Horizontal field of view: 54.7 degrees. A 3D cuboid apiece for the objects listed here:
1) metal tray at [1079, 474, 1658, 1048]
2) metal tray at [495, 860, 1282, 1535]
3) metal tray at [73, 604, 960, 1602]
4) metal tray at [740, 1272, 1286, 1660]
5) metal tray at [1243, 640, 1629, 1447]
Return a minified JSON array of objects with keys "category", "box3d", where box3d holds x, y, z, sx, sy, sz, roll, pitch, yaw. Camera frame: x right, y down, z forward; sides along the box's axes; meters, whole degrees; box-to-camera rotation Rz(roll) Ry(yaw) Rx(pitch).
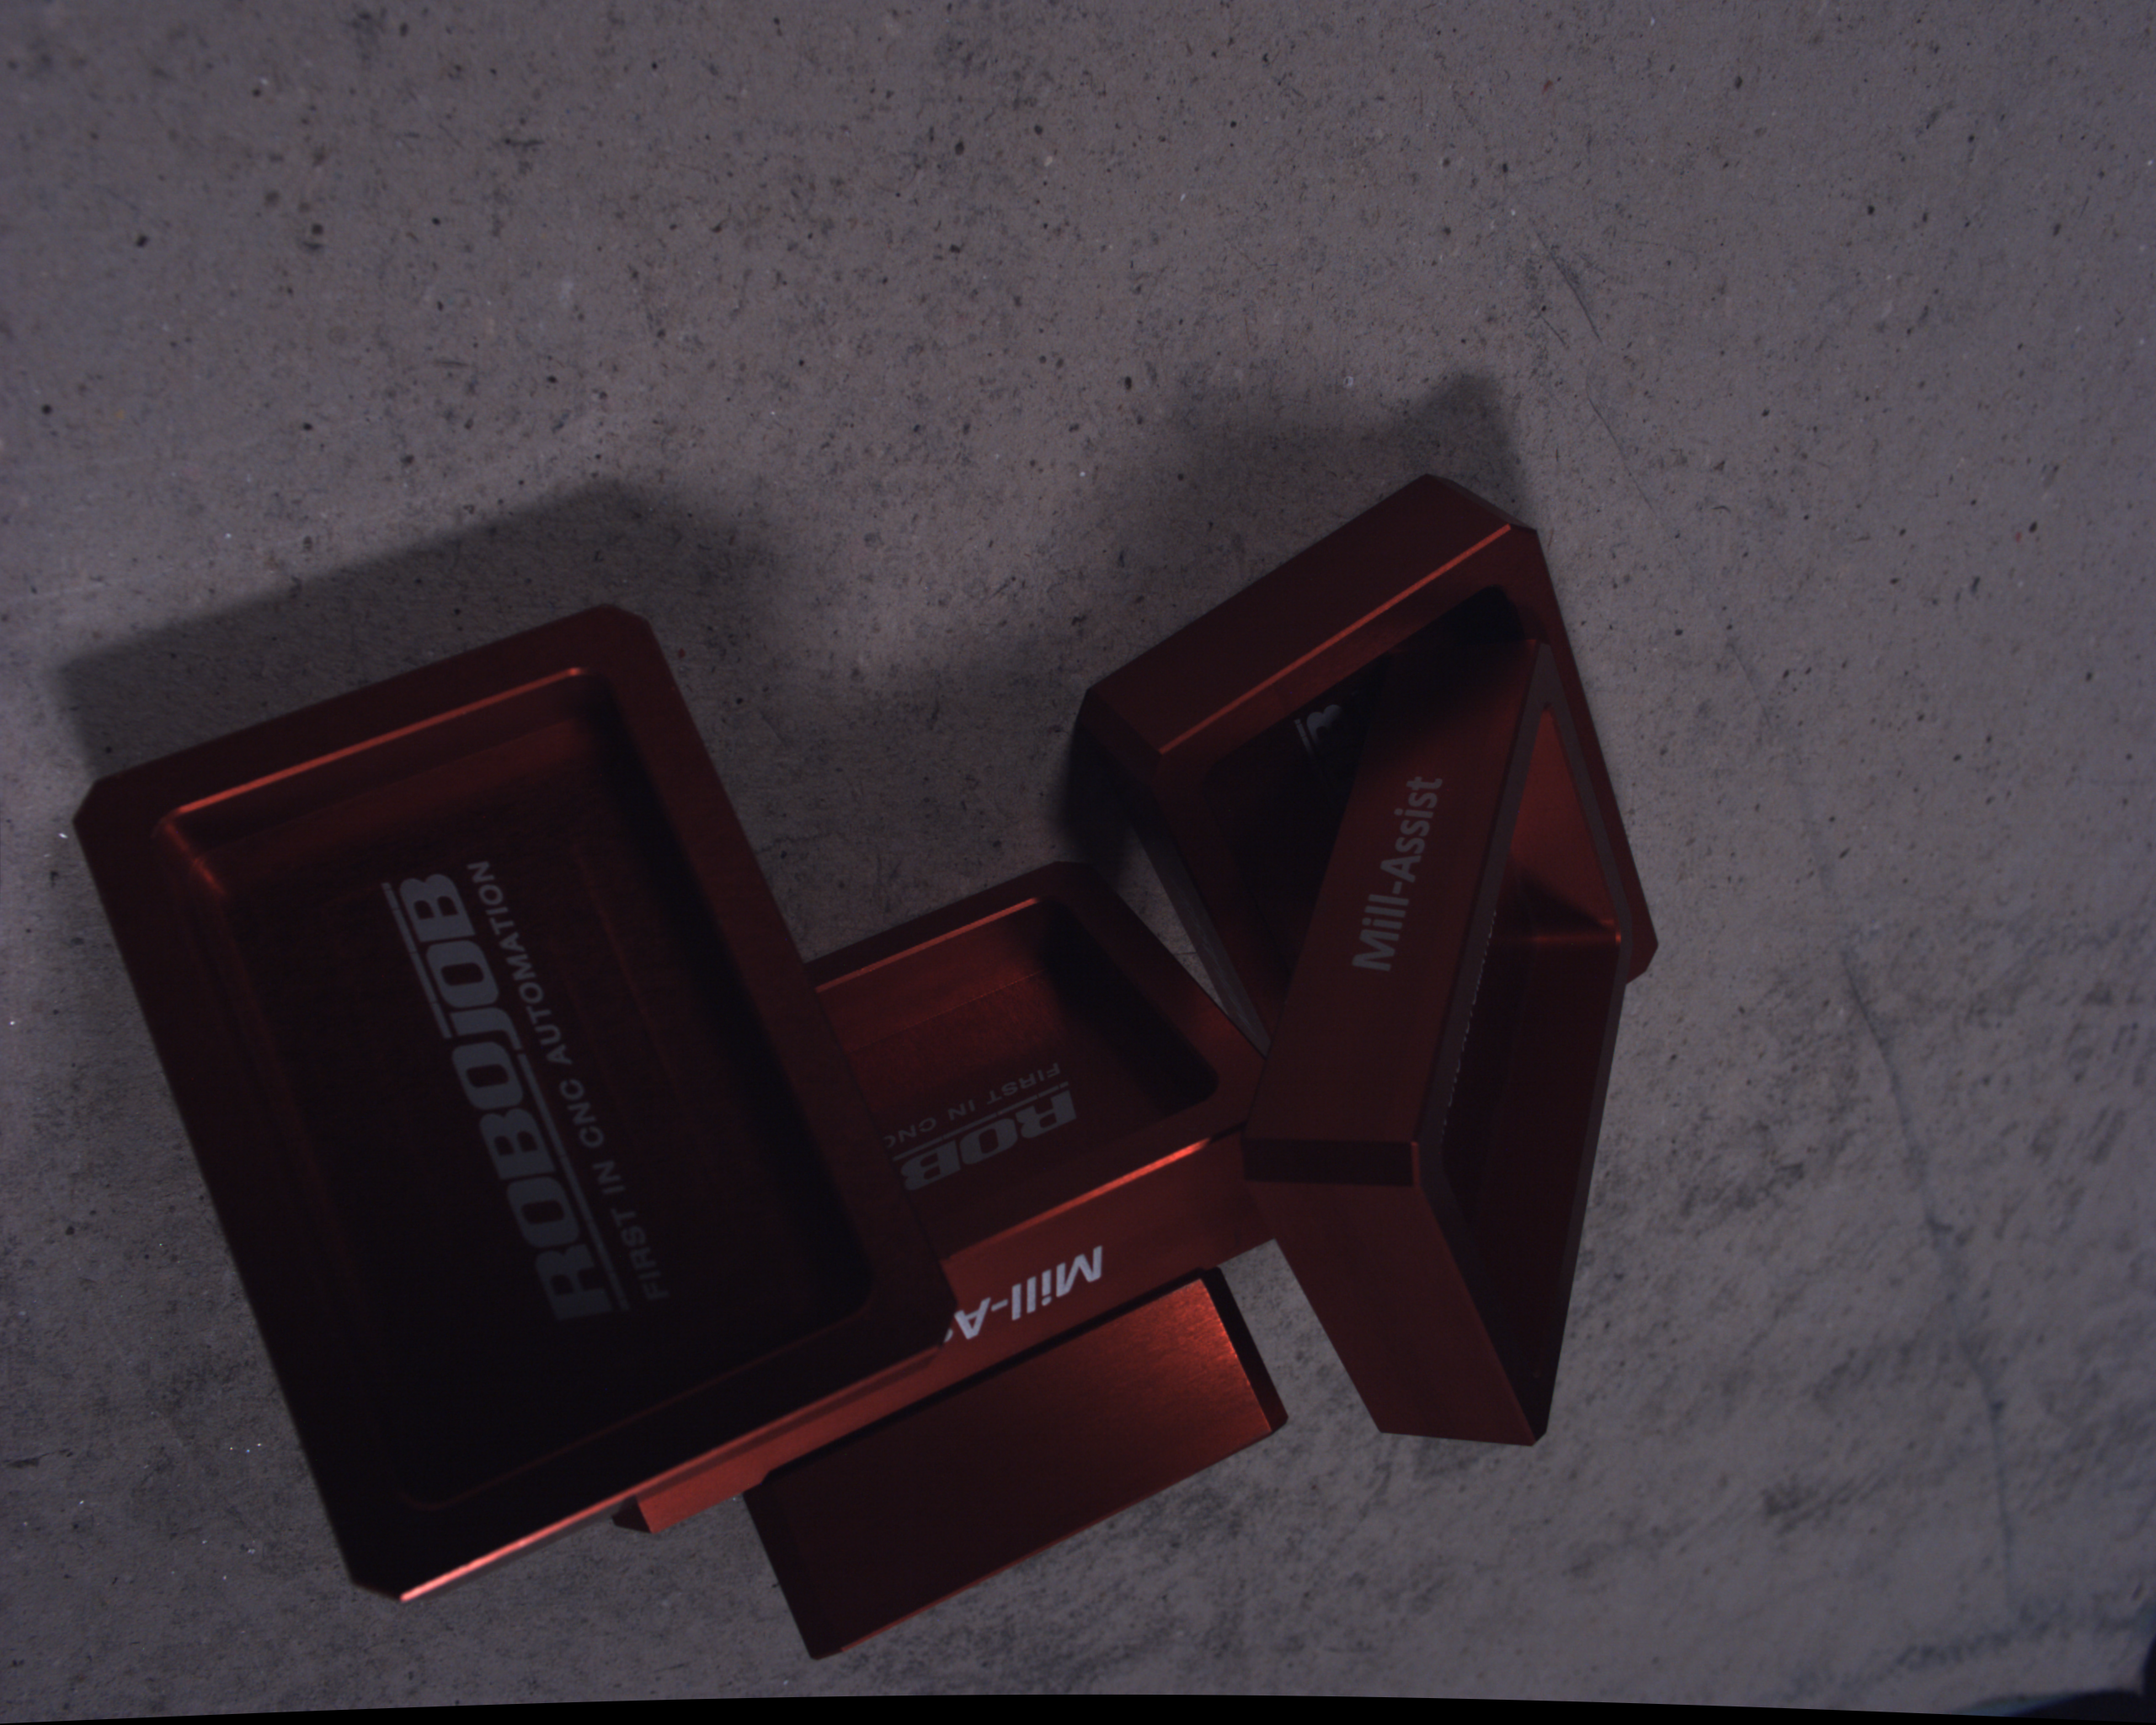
[{"category":"metal tray","box3d":[0.066,-0.005,0.440,0.090,0.030,0.130,-34,129,-7]},{"category":"metal tray","box3d":[-0.036,0.054,0.381,0.131,0.090,0.030,-23,127,-15]},{"category":"metal tray","box3d":[-0.086,0.034,0.322,0.091,0.130,0.030,-22,166,-16]},{"category":"metal tray","box3d":[-0.021,0.115,0.413,0.091,0.130,0.030,-22,82,-15]},{"category":"metal tray","box3d":[0.074,0.032,0.398,0.090,0.030,0.130,63,36,-39]}]
